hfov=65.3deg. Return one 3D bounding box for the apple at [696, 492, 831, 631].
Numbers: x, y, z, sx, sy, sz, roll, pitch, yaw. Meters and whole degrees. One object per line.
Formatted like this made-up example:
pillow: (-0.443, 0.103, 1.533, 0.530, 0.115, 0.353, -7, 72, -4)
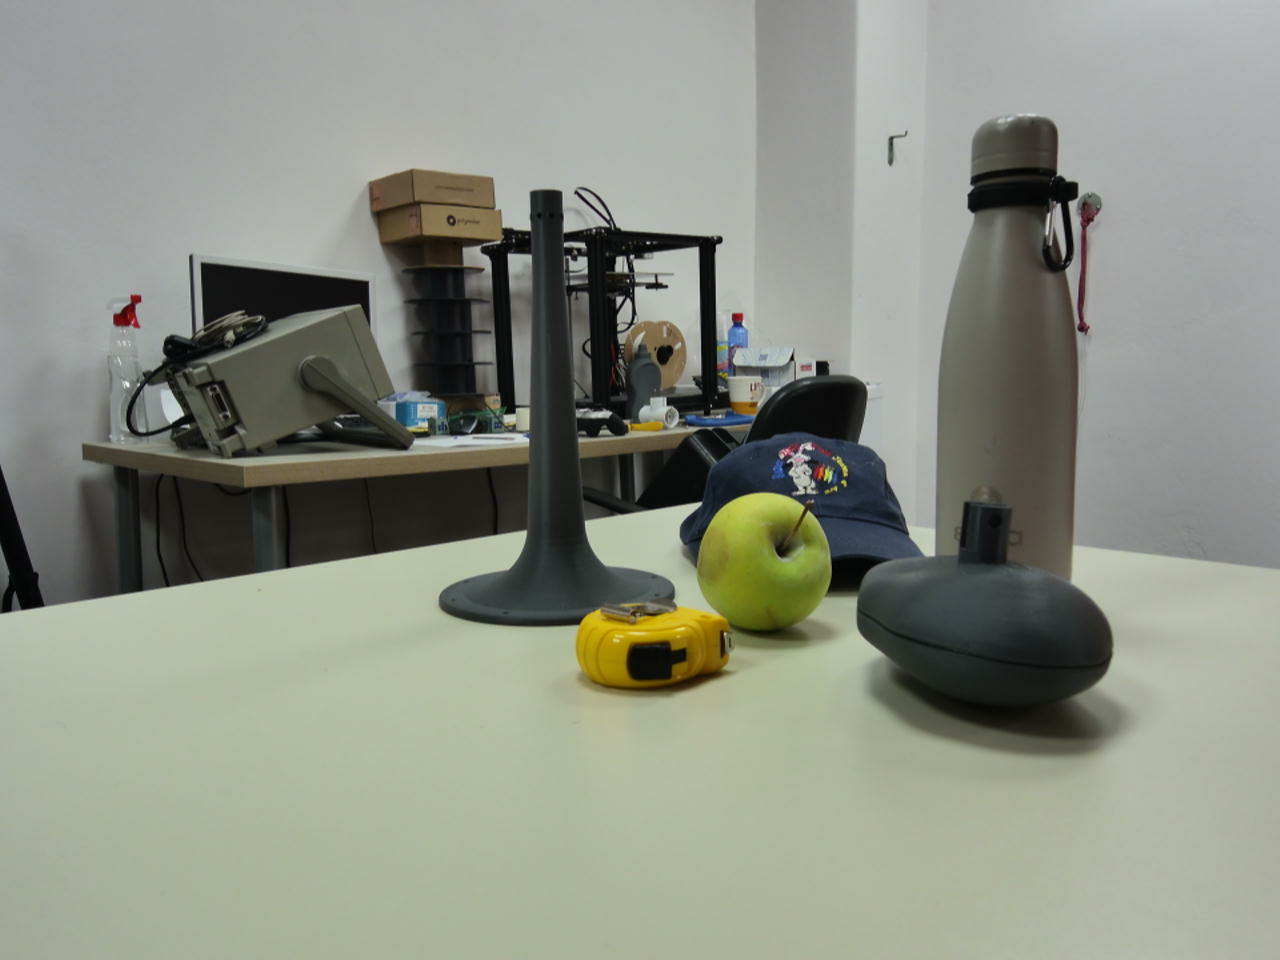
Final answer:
apple: (0.068, 0.045, 0.557, 0.072, 0.075, 0.077, -1, 5, 1)
